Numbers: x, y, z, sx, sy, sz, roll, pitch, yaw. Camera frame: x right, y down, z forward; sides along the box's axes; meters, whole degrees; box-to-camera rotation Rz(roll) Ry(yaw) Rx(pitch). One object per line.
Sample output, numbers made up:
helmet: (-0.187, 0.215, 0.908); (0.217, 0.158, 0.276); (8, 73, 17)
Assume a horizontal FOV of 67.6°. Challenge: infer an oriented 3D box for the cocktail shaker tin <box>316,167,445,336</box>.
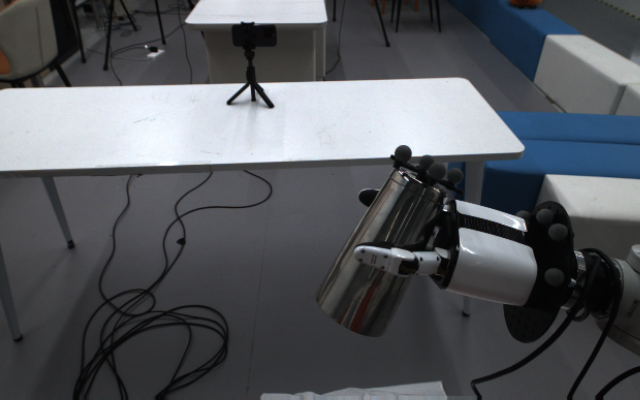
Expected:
cocktail shaker tin: (0.075, 0.052, 0.537); (0.093, 0.170, 0.093); (24, 12, -6)
